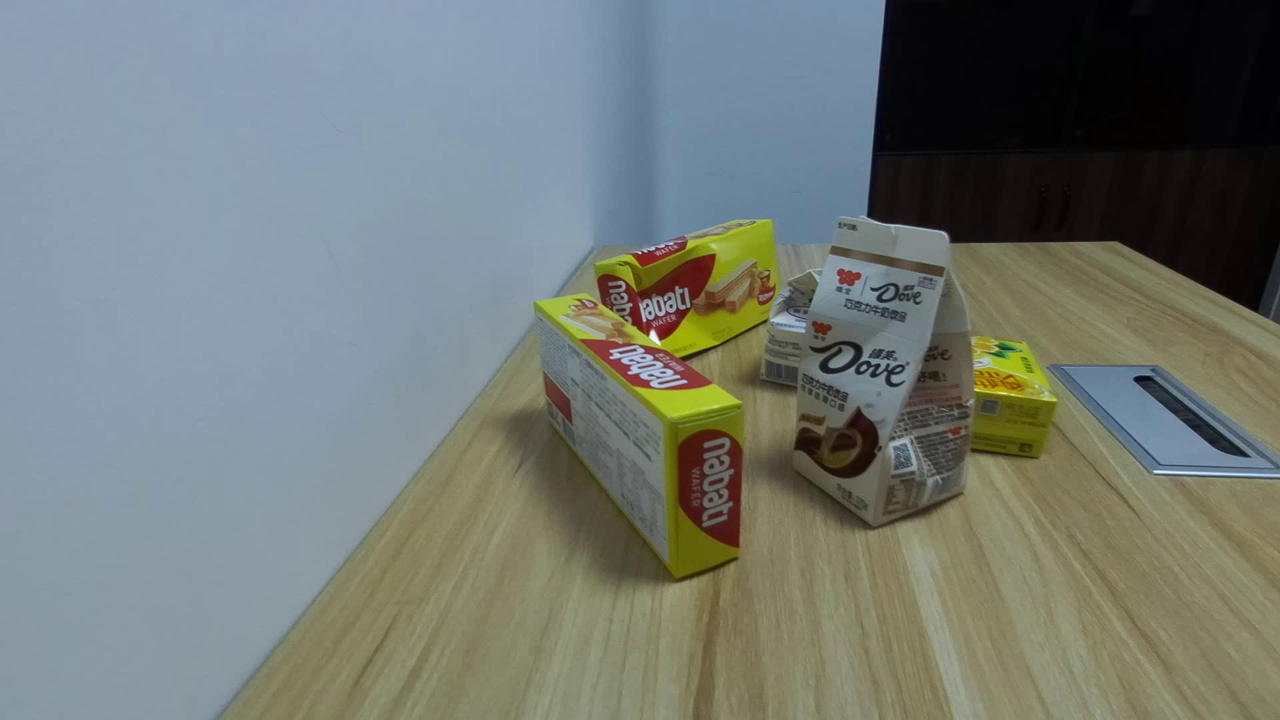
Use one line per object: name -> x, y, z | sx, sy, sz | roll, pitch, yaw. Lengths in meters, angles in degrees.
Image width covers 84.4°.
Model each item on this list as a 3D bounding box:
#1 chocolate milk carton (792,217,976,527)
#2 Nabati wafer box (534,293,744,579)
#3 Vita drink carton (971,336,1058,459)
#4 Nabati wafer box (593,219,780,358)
chocolate milk carton -> 0.140, 0.002, 0.392 | 0.073, 0.155, 0.084 | -13, 25, -24
Nabati wafer box -> -0.008, 0.031, 0.419 | 0.042, 0.093, 0.202 | -13, 25, -22
Vita drink carton -> 0.240, 0.021, 0.484 | 0.076, 0.043, 0.109 | 8, 23, 16
Nabati wafer box -> 0.053, -0.061, 0.625 | 0.042, 0.096, 0.204 | 8, 23, 45
